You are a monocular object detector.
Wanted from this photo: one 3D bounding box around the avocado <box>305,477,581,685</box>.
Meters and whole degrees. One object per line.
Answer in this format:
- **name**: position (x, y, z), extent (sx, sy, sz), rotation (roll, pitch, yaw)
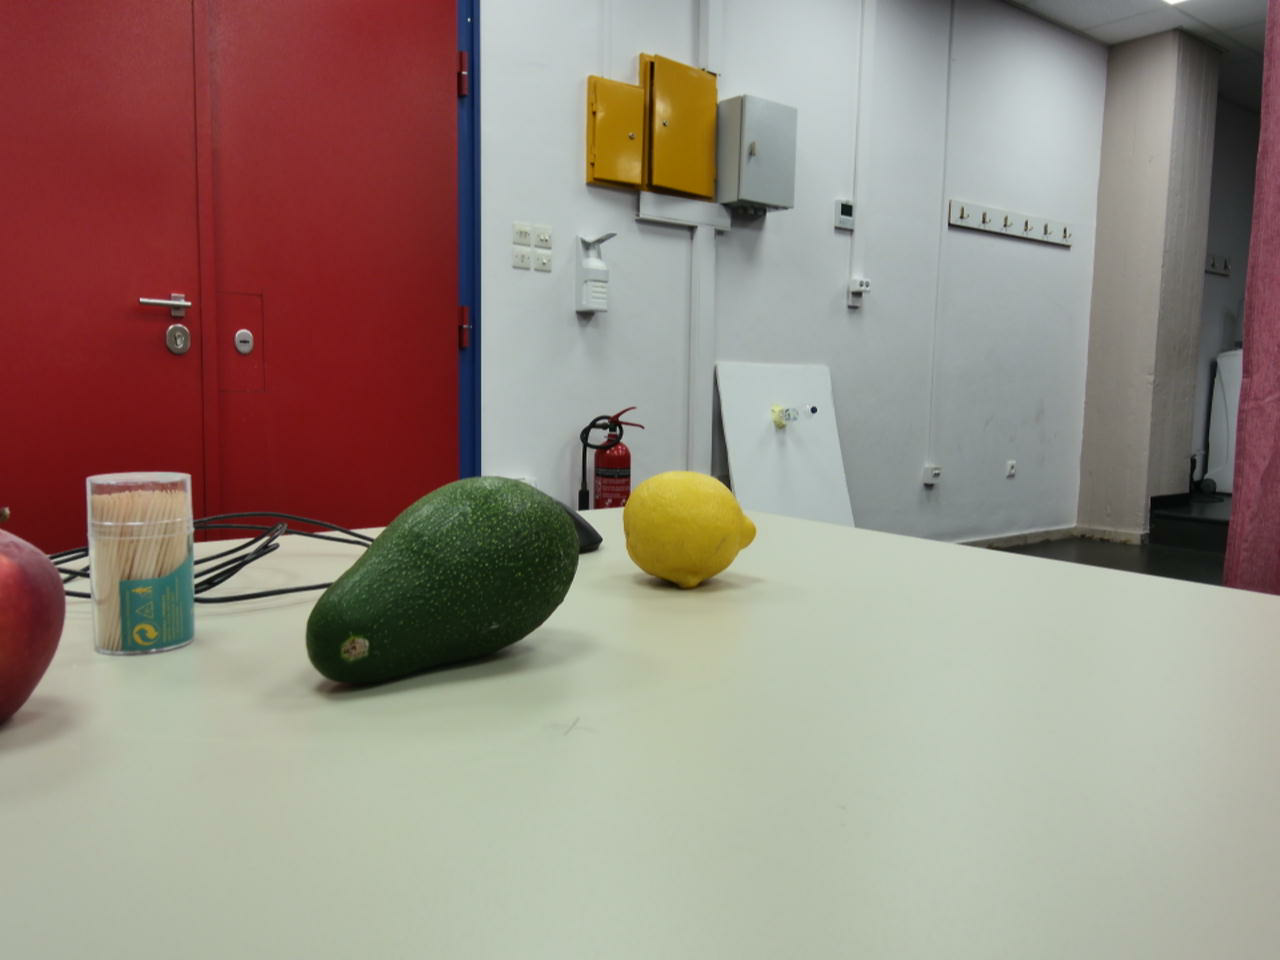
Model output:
- **avocado**: position (-0.082, 0.037, 0.417), extent (0.123, 0.076, 0.074), rotation (-2, 4, -33)
